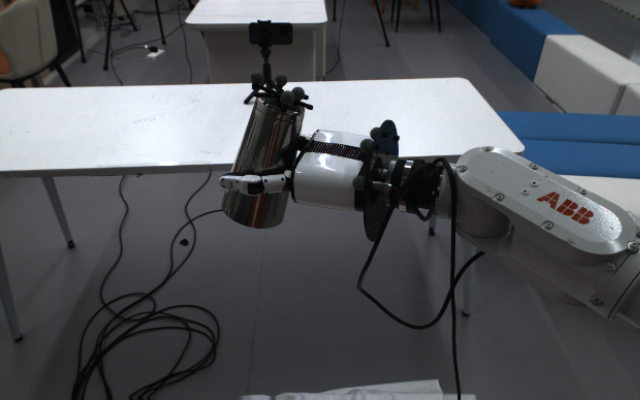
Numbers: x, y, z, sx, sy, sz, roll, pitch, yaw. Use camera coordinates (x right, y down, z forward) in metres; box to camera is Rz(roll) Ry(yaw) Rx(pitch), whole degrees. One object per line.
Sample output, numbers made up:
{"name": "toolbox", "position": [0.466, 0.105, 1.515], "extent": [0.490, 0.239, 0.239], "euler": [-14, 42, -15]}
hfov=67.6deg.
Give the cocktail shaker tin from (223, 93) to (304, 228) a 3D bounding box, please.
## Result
{"name": "cocktail shaker tin", "position": [-0.075, -0.057, 0.669], "extent": [0.093, 0.170, 0.093], "euler": [14, 27, -7]}
